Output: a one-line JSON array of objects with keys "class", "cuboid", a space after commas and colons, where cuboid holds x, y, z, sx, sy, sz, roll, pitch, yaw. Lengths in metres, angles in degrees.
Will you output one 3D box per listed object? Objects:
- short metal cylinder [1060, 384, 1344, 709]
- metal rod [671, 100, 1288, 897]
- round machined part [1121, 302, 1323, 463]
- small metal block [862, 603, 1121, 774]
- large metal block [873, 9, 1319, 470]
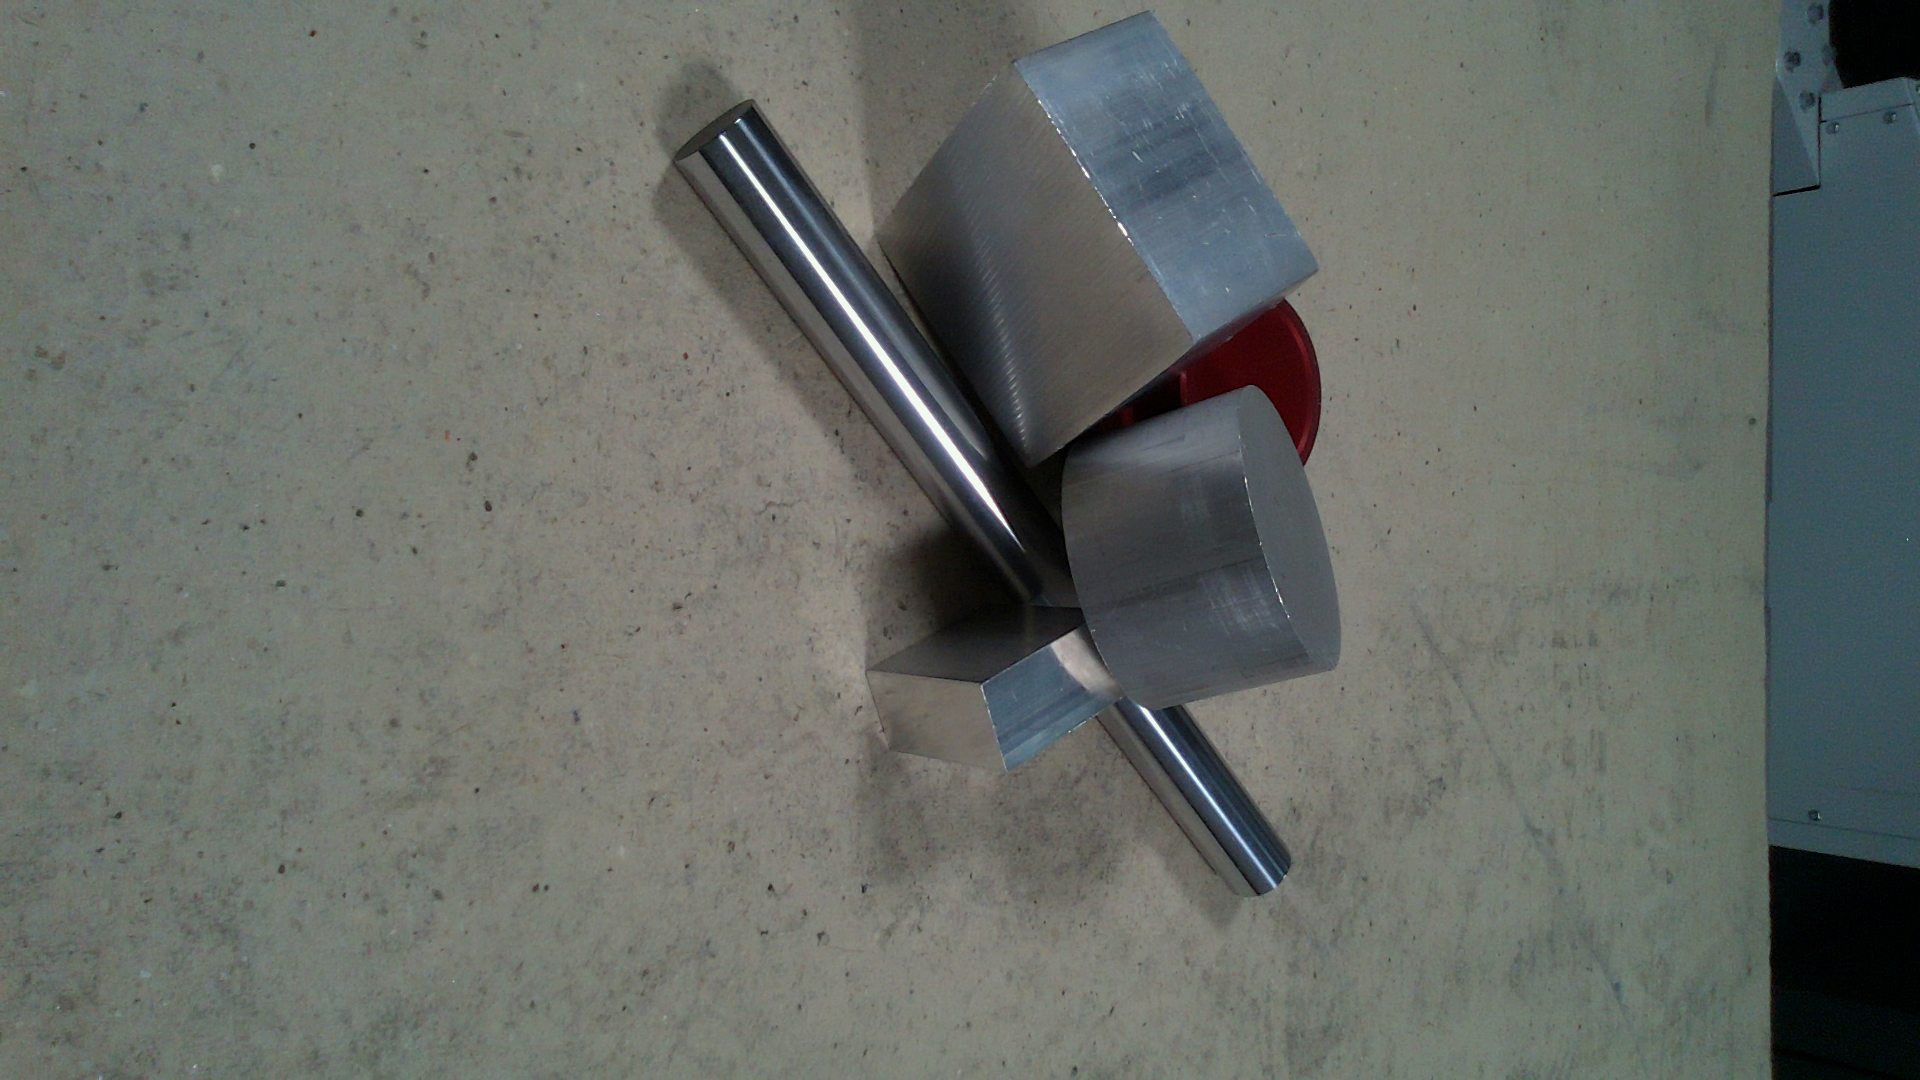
[{"class": "short metal cylinder", "cuboid": [0.068, 0.003, 0.382, 0.080, 0.050, 0.080, 42, 39, -46]}, {"class": "metal rod", "cuboid": [0.020, 0.006, 0.406, 0.025, 0.025, 0.301, -52, 120, -27]}, {"class": "round machined part", "cuboid": [0.080, -0.046, 0.443, 0.098, 0.042, 0.098, 0, 90, -40]}, {"class": "small metal block", "cuboid": [0.010, 0.039, 0.382, 0.050, 0.050, 0.025, -27, 106, -37]}, {"class": "large metal block", "cuboid": [0.033, -0.077, 0.367, 0.050, 0.080, 0.080, -32, 88, -34]}]
